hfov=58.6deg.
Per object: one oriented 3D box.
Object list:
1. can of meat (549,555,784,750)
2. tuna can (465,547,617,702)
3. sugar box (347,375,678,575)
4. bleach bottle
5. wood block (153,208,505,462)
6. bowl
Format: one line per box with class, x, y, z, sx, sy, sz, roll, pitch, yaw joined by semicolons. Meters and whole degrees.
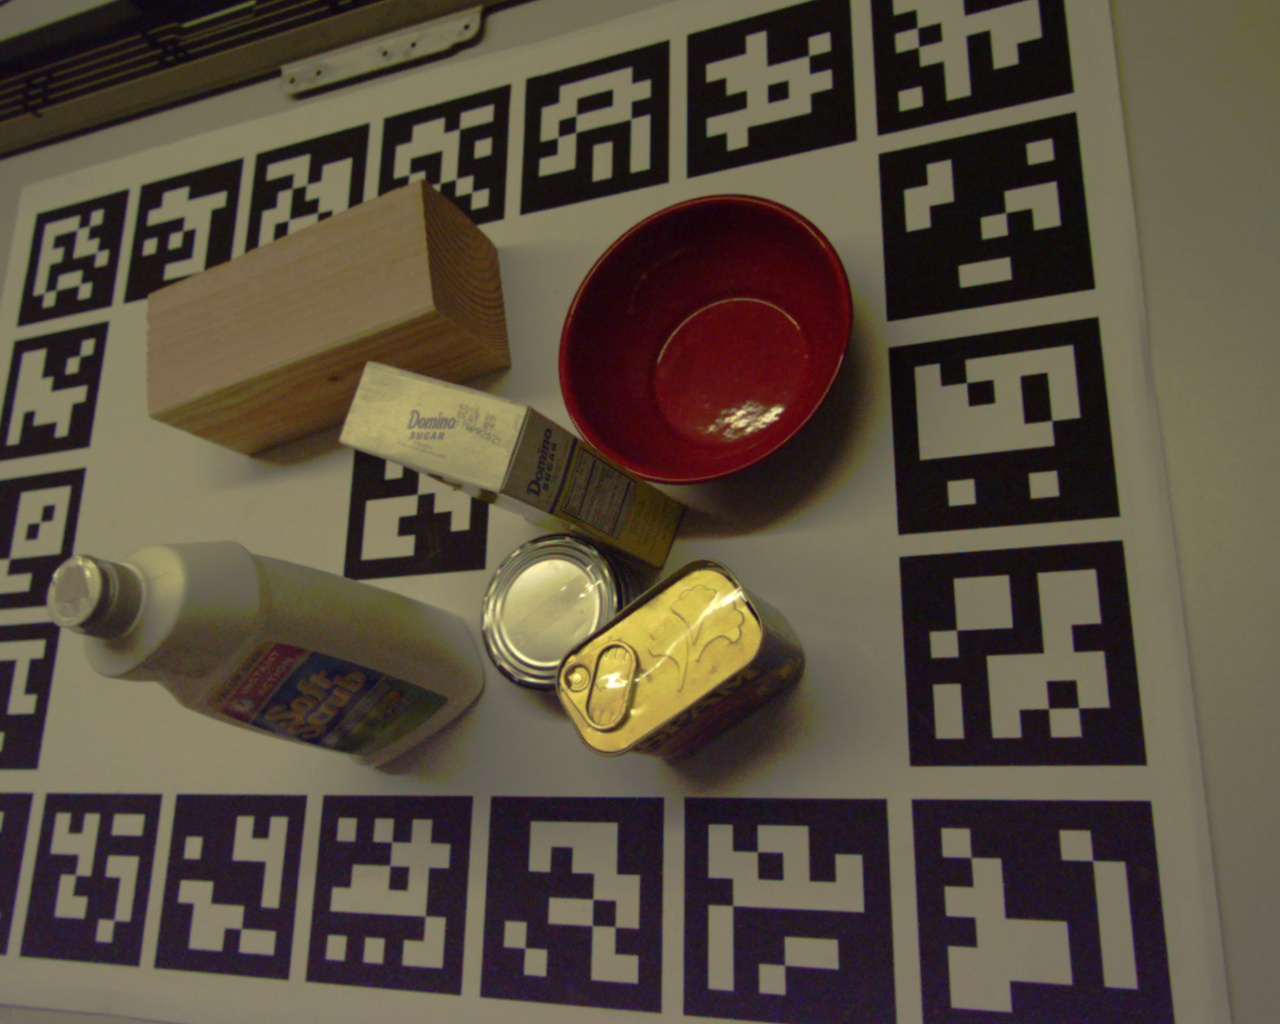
can of meat;0.017;0.077;0.588;0.102;0.083;0.058;-35;61;10
tuna can;-0.054;0.065;0.645;0.086;0.033;0.086;-6;75;24
sugar box;-0.059;-0.015;0.592;0.094;0.174;0.045;17;84;31
bleach bottle;-0.187;0.069;0.587;0.103;0.248;0.068;-31;64;13
wood block;-0.204;-0.109;0.741;0.208;0.089;0.091;-15;73;19
bowl;0.040;-0.085;0.638;0.163;0.054;0.162;-9;71;26
